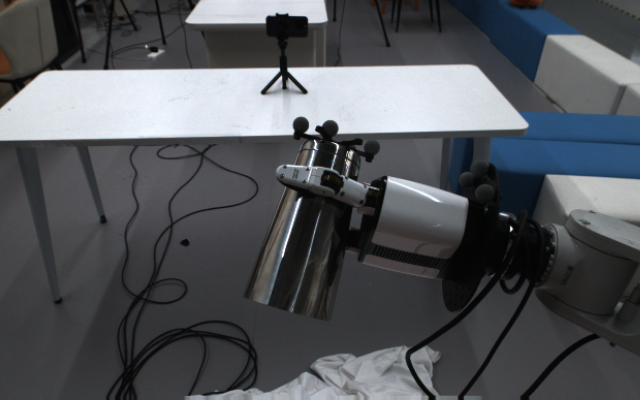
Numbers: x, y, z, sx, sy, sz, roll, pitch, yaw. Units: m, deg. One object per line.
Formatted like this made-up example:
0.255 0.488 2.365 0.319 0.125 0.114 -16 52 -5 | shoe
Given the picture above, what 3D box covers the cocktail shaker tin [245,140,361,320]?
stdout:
-0.006 0.027 0.502 0.093 0.093 0.170 13 79 15 | cocktail shaker tin
